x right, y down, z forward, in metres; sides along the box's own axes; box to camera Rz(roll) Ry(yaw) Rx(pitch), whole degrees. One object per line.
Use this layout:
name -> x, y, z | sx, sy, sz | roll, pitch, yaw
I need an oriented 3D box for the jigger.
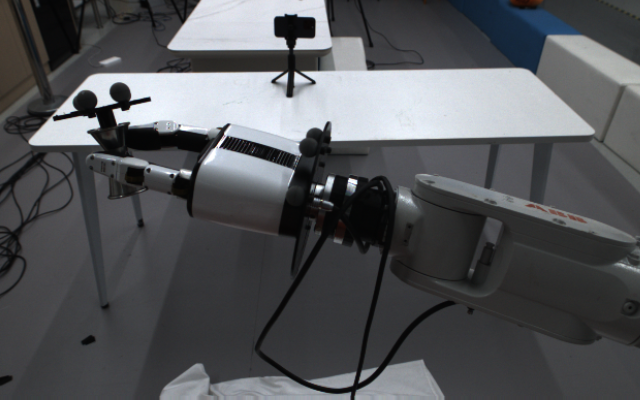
jigger -> -0.197, -0.039, 0.486 | 0.043, 0.071, 0.043 | -12, 16, 3
